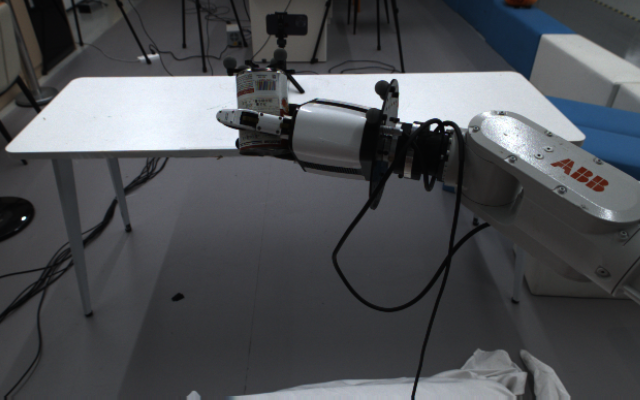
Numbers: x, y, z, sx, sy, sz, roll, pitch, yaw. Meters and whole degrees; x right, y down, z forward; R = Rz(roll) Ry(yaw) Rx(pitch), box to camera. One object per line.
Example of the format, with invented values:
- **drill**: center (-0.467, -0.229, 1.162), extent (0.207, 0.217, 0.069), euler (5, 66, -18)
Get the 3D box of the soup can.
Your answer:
- **soup can**: center (-0.072, -0.110, 0.621), extent (0.067, 0.101, 0.067), euler (-3, -1, 0)
